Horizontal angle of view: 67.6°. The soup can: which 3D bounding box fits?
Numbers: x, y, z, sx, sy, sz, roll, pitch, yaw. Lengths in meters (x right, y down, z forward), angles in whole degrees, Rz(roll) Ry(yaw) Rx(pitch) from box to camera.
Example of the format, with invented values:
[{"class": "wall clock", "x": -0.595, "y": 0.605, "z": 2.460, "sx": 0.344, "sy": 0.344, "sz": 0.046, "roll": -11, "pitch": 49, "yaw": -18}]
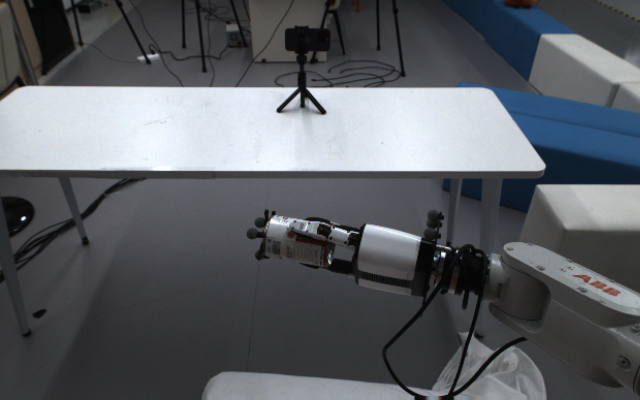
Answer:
[{"class": "soup can", "x": -0.028, "y": 0.064, "z": 0.748, "sx": 0.101, "sy": 0.067, "sz": 0.067, "roll": 8, "pitch": 35, "yaw": 10}]
